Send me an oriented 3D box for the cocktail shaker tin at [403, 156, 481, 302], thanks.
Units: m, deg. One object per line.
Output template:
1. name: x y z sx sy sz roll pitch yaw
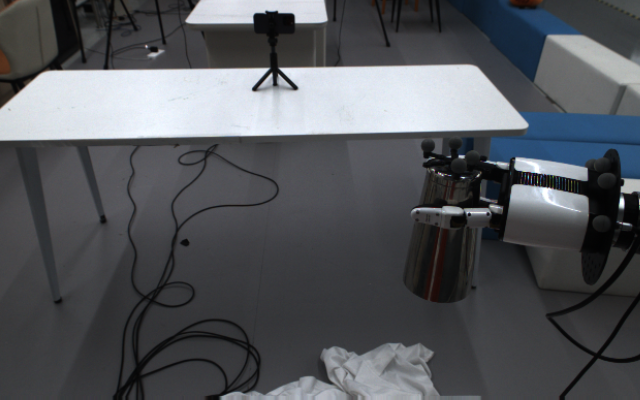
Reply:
1. cocktail shaker tin: 0.165 0.032 0.632 0.093 0.170 0.093 1 27 -1
